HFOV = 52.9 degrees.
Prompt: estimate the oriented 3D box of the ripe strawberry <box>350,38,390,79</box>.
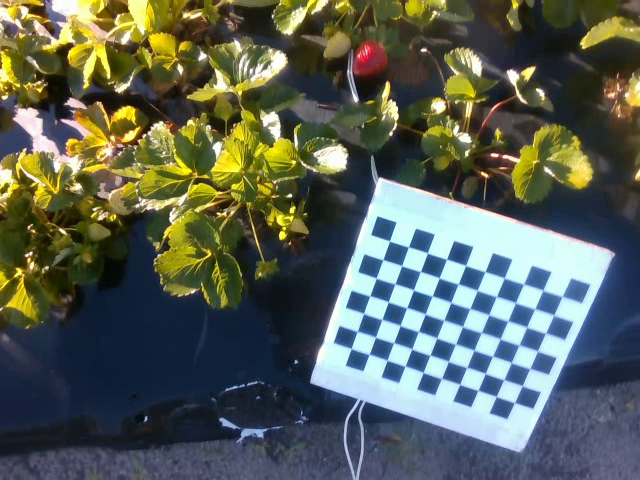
[{"bbox_3d":[0.074,-0.267,0.933,0.080,0.063,0.040,-50,10,-29],"label":"ripe strawberry"}]
